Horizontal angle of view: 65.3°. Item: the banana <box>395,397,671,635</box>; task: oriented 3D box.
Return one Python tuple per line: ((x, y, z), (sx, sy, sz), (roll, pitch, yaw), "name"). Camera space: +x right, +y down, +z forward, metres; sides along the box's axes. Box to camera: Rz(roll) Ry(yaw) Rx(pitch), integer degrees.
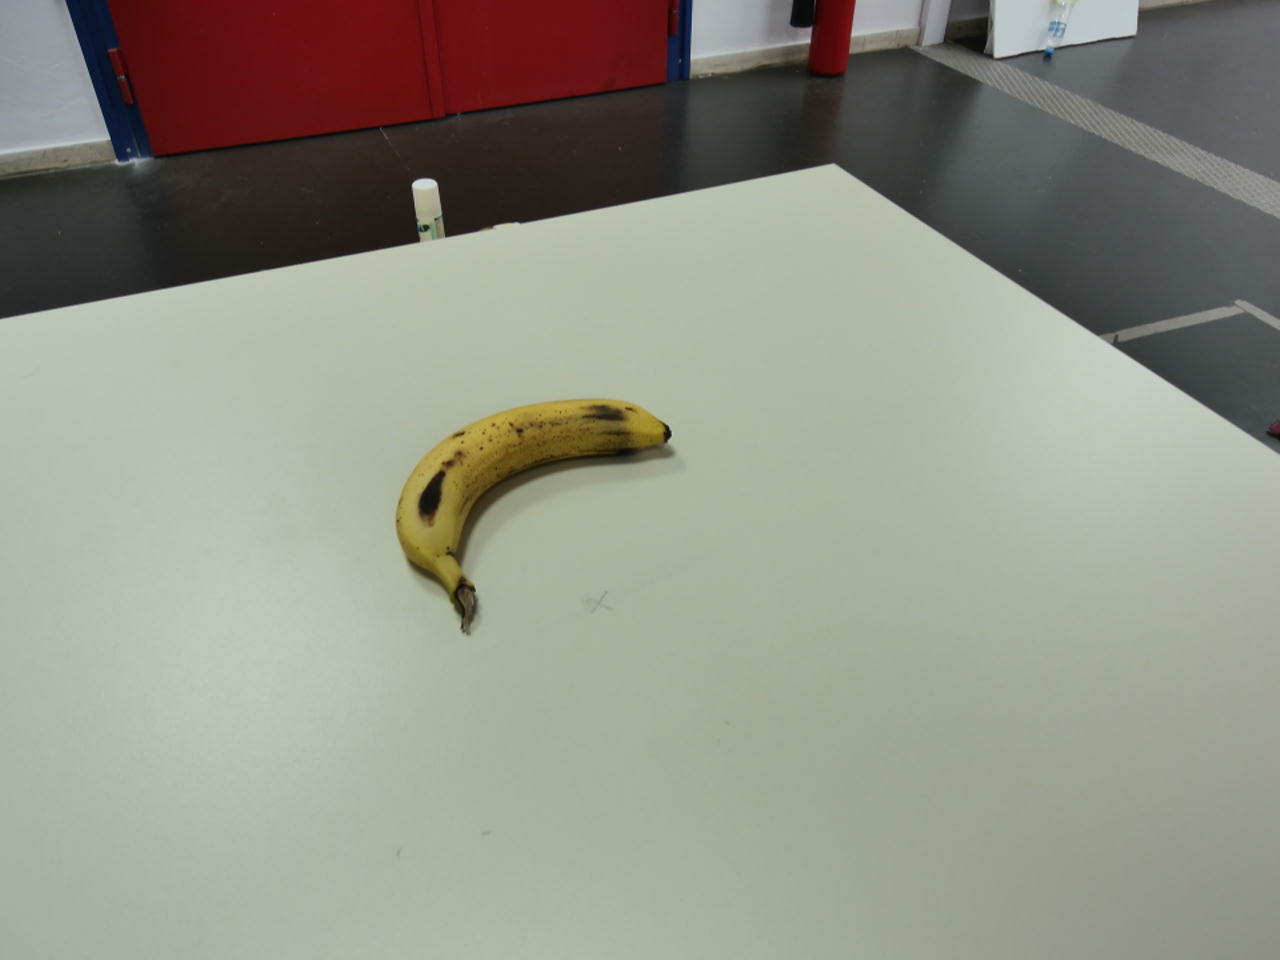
((-0.072, -0.003, 0.591), (0.097, 0.038, 0.186), (25, 45, 28), "banana")
